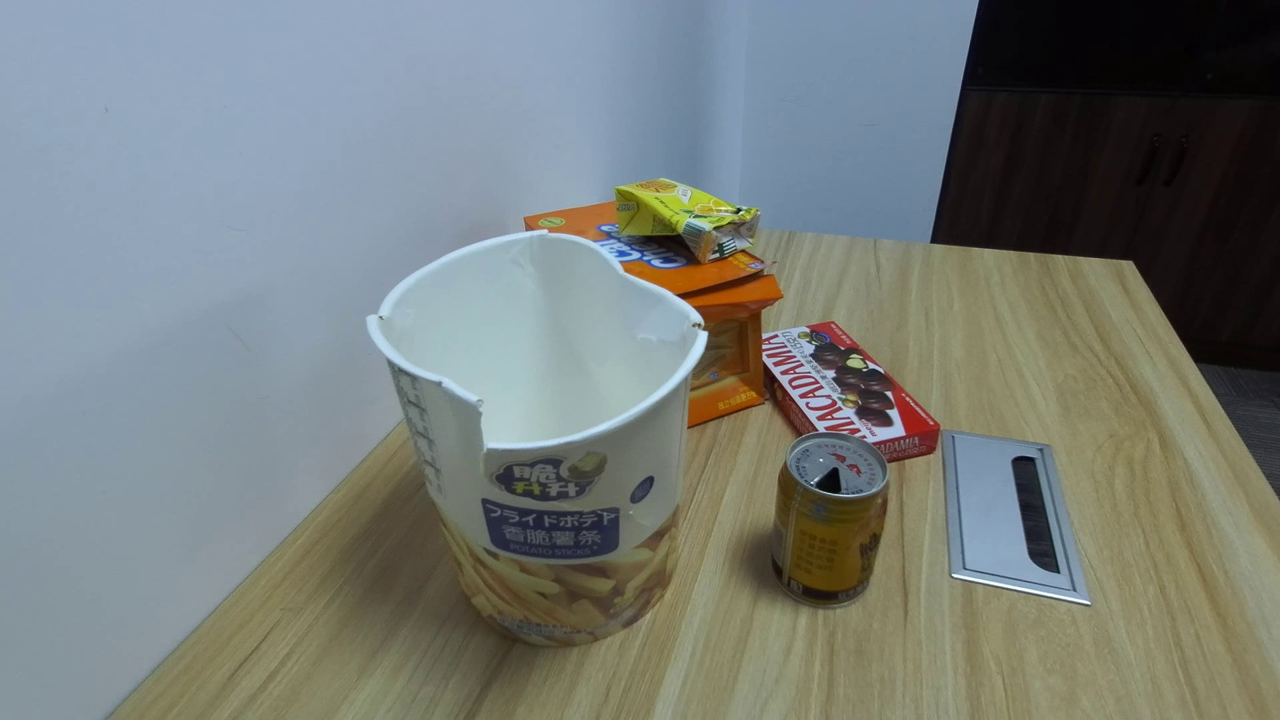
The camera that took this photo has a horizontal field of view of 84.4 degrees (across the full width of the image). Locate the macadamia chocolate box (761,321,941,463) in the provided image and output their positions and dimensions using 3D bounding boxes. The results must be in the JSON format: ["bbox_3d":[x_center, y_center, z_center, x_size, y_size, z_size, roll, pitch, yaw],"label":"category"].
[{"bbox_3d":[0.168,0.026,0.615,0.096,0.027,0.177,-10,33,-10],"label":"macadamia chocolate box"}]

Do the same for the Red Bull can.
[{"bbox_3d":[0.117,0.098,0.439,0.068,0.093,0.068,-1,33,1],"label":"Red Bull can"}]

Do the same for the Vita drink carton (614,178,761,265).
[{"bbox_3d":[0.039,-0.117,0.595,0.108,0.042,0.087,28,34,33],"label":"Vita drink carton"}]

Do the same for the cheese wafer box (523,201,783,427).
[{"bbox_3d":[0.004,-0.050,0.642,0.150,0.137,0.226,-15,34,-22],"label":"cheese wafer box"}]

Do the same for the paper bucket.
[{"bbox_3d":[-0.051,0.052,0.423,0.146,0.197,0.201,-26,40,-30],"label":"paper bucket"}]
